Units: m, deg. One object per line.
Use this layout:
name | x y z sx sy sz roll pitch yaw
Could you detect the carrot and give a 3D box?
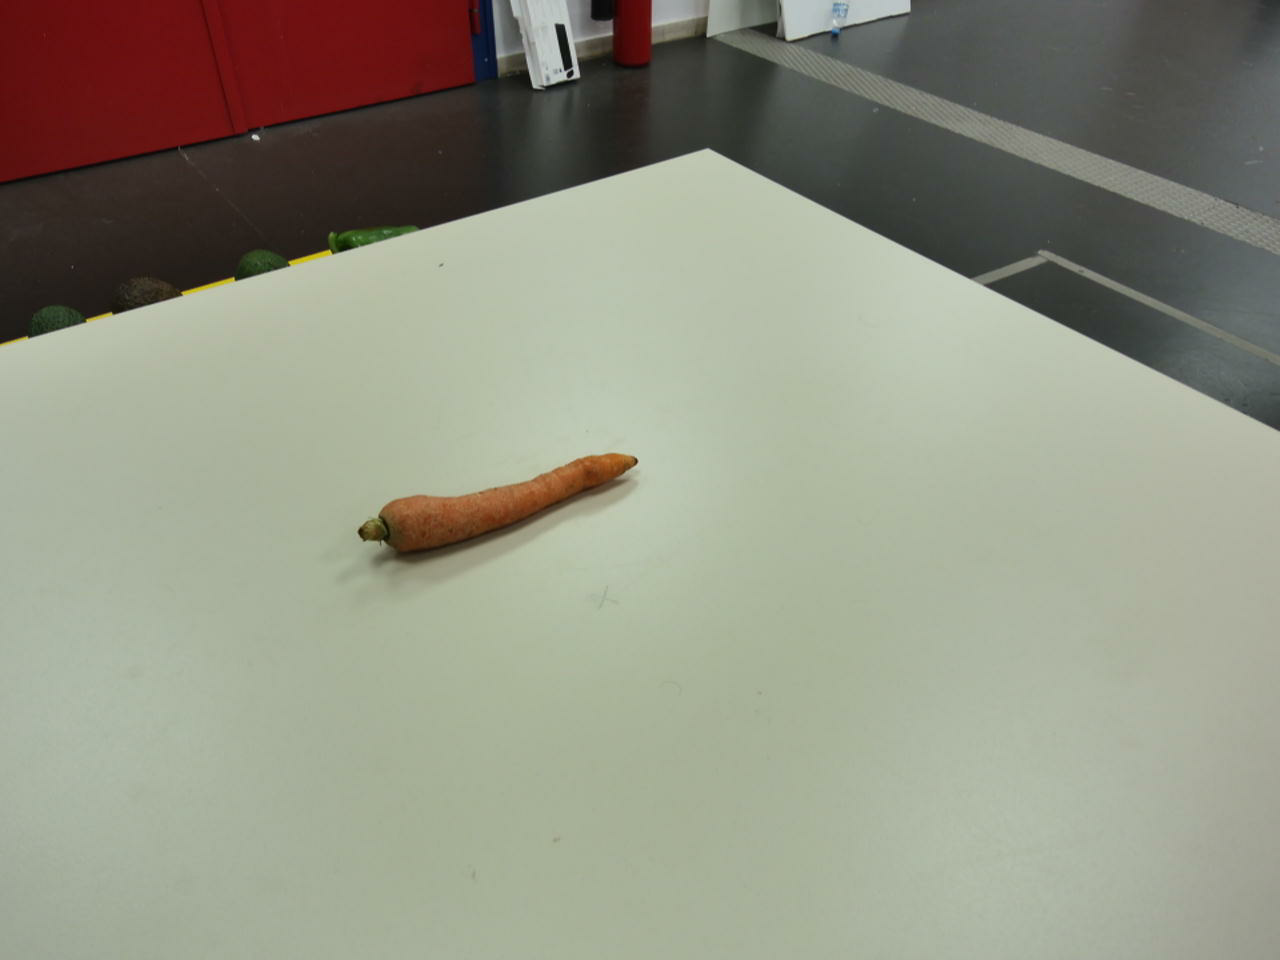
carrot | -0.074 0.009 0.571 0.173 0.032 0.030 -18 42 -22
